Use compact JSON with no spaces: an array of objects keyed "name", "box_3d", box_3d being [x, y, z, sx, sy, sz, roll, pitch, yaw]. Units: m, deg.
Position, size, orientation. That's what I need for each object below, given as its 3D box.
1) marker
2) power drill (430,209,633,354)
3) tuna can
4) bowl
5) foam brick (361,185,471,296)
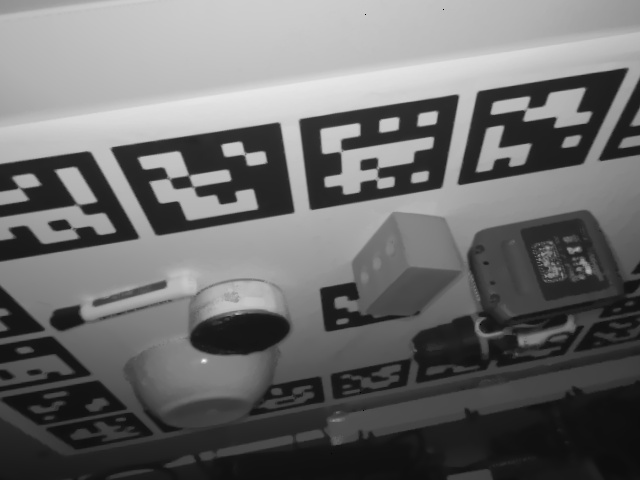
[{"name":"marker","box_3d":[-0.154,0.038,0.547,0.121,0.020,0.019,-15,143,5]},{"name":"power drill","box_3d":[0.197,0.050,0.643,0.185,0.057,0.186,-8,148,1]},{"name":"tuna can","box_3d":[-0.064,0.059,0.590,0.086,0.034,0.085,-6,145,-3]},{"name":"bowl","box_3d":[-0.104,0.140,0.693,0.162,0.055,0.160,-12,152,-5]},{"name":"foam brick","box_3d":[0.074,0.002,0.548,0.052,0.053,0.077,6,140,-21]}]
